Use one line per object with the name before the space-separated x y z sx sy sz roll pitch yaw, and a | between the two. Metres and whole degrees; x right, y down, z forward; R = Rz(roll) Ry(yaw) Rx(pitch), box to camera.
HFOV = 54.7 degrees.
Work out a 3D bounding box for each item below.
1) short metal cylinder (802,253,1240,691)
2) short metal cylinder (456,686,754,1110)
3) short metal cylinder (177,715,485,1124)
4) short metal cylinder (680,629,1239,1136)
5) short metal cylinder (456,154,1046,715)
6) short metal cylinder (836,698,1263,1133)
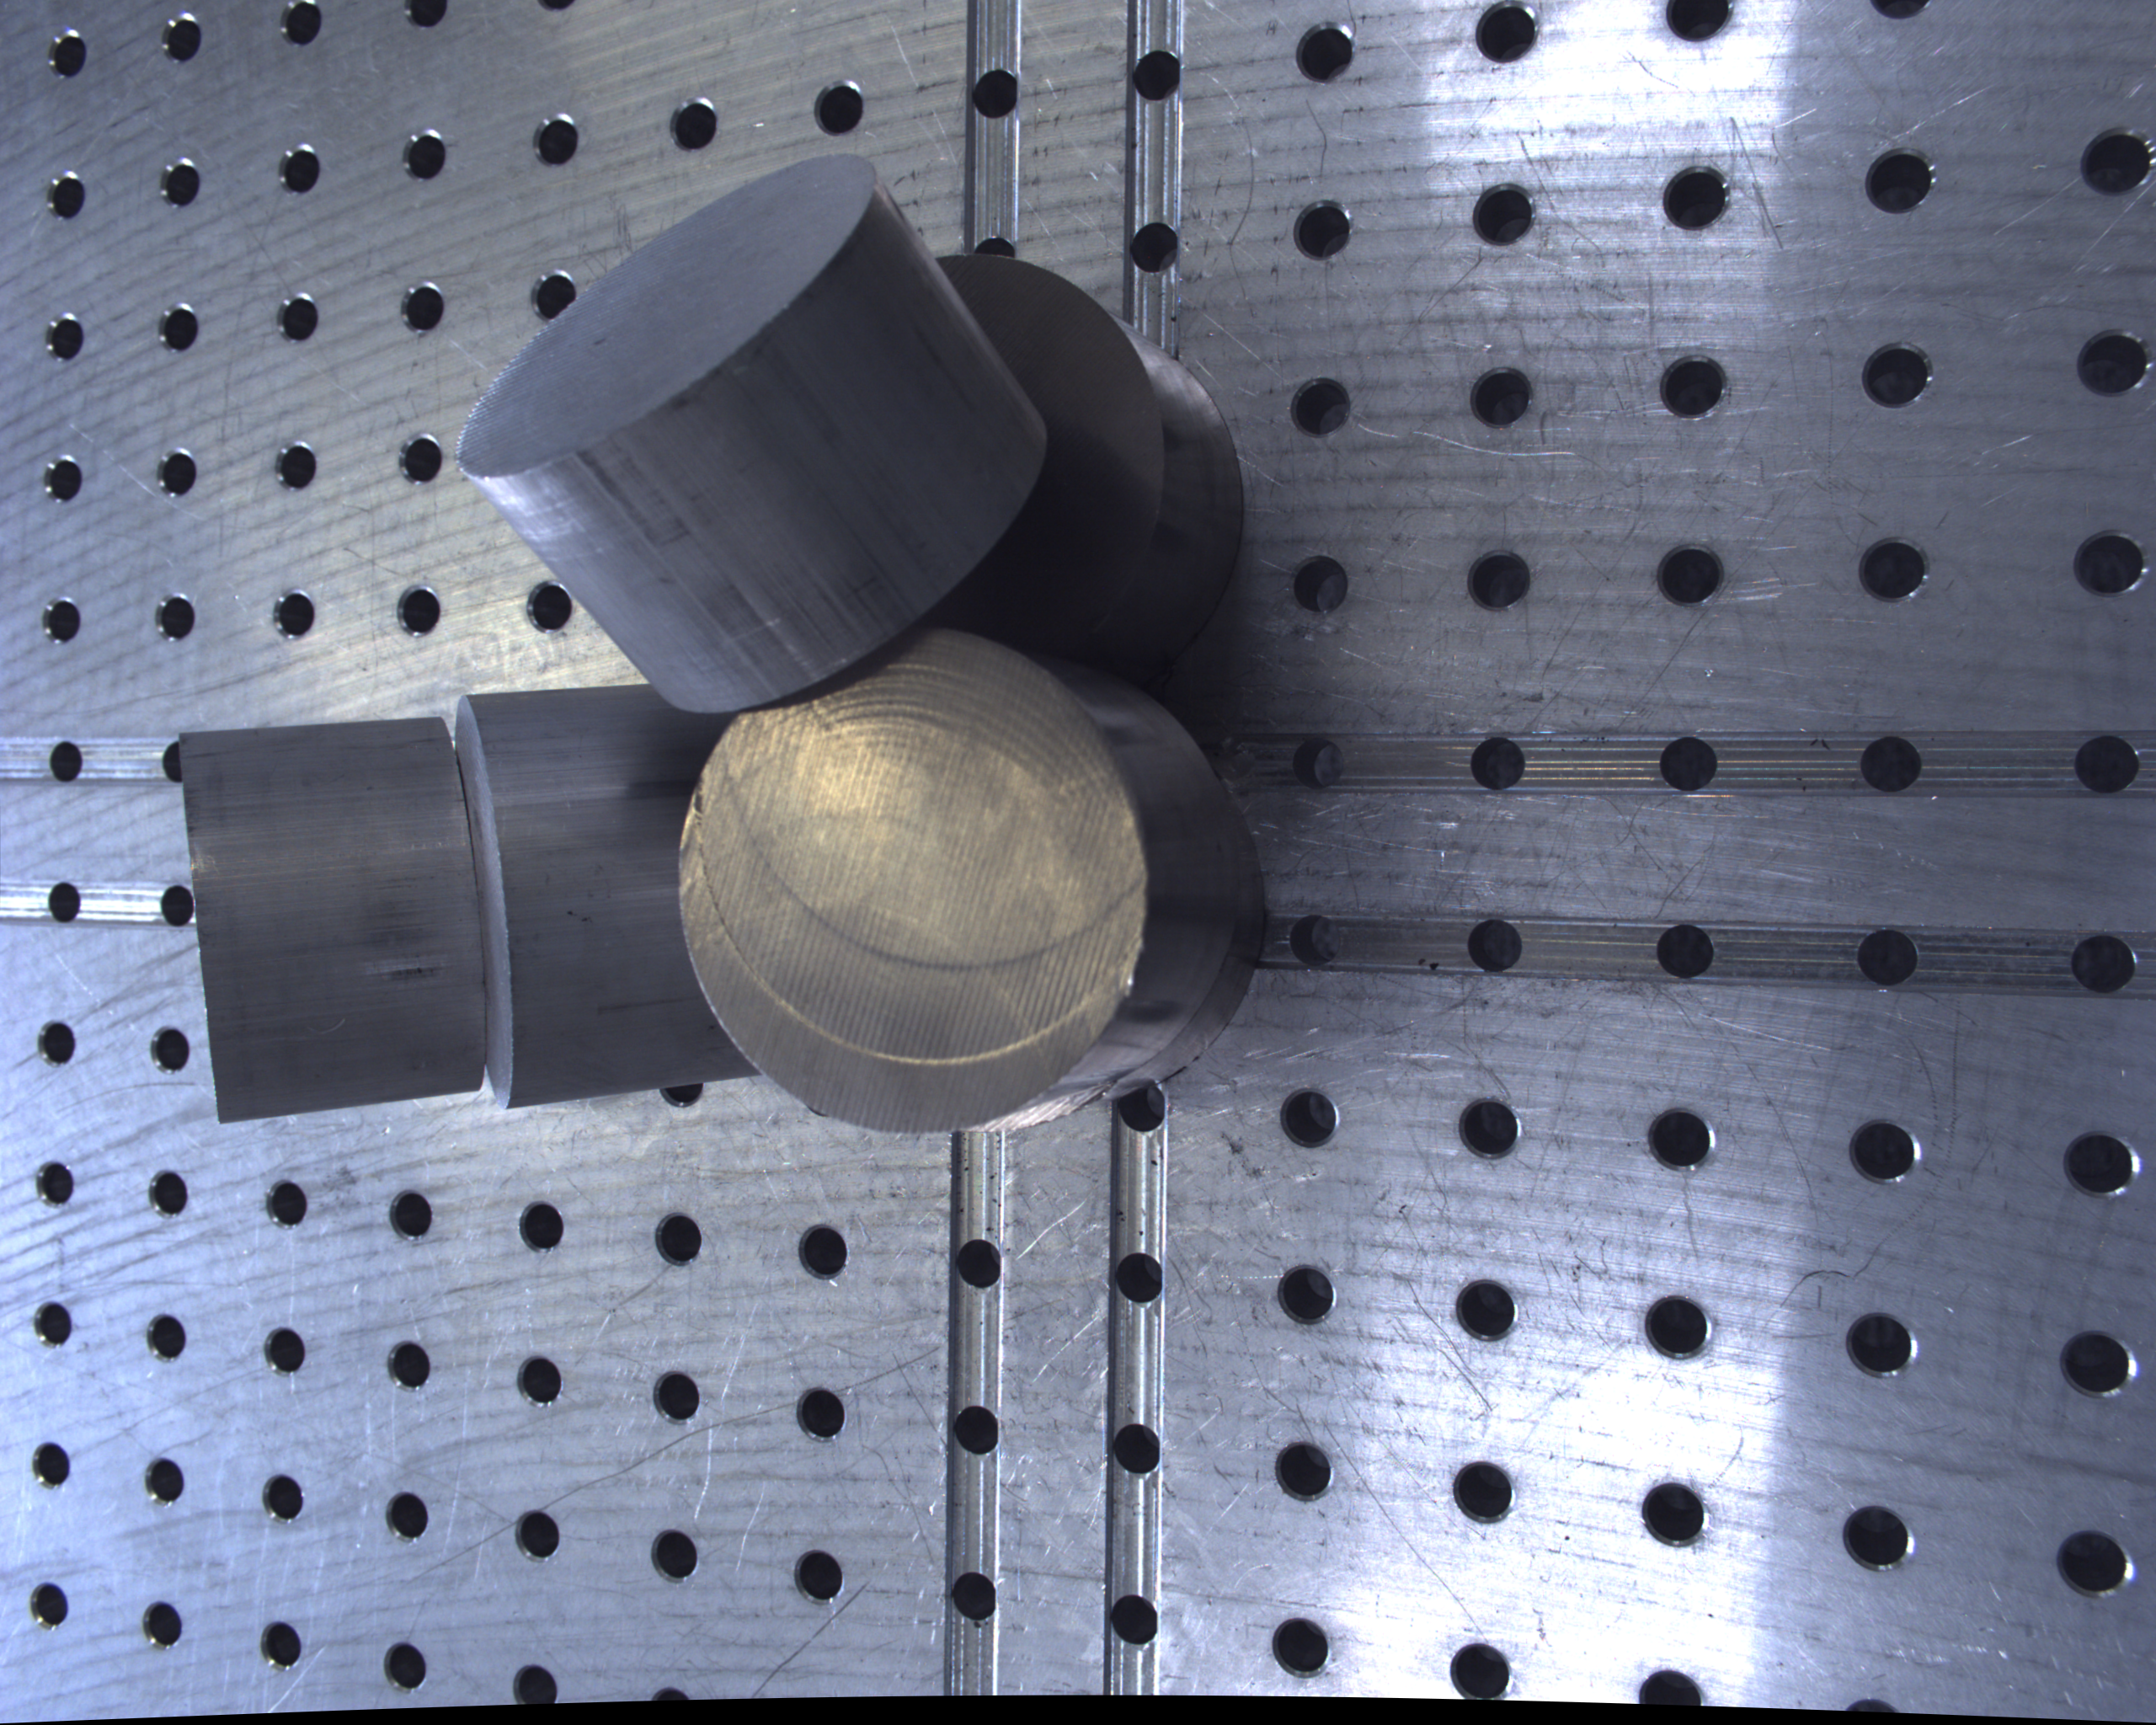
short metal cylinder | -0.014 -0.071 0.404 0.080 0.050 0.079 0 90 20
short metal cylinder | -0.091 0.005 0.408 0.050 0.080 0.080 -6 88 -22
short metal cylinder | -0.155 0.011 0.431 0.050 0.080 0.080 -6 87 -22
short metal cylinder | -0.019 0.003 0.351 0.080 0.050 0.080 0 90 20
short metal cylinder | -0.053 -0.070 0.341 0.080 0.080 0.050 -25 125 18
short metal cylinder | -0.010 0.009 0.402 0.080 0.050 0.080 0 90 20
